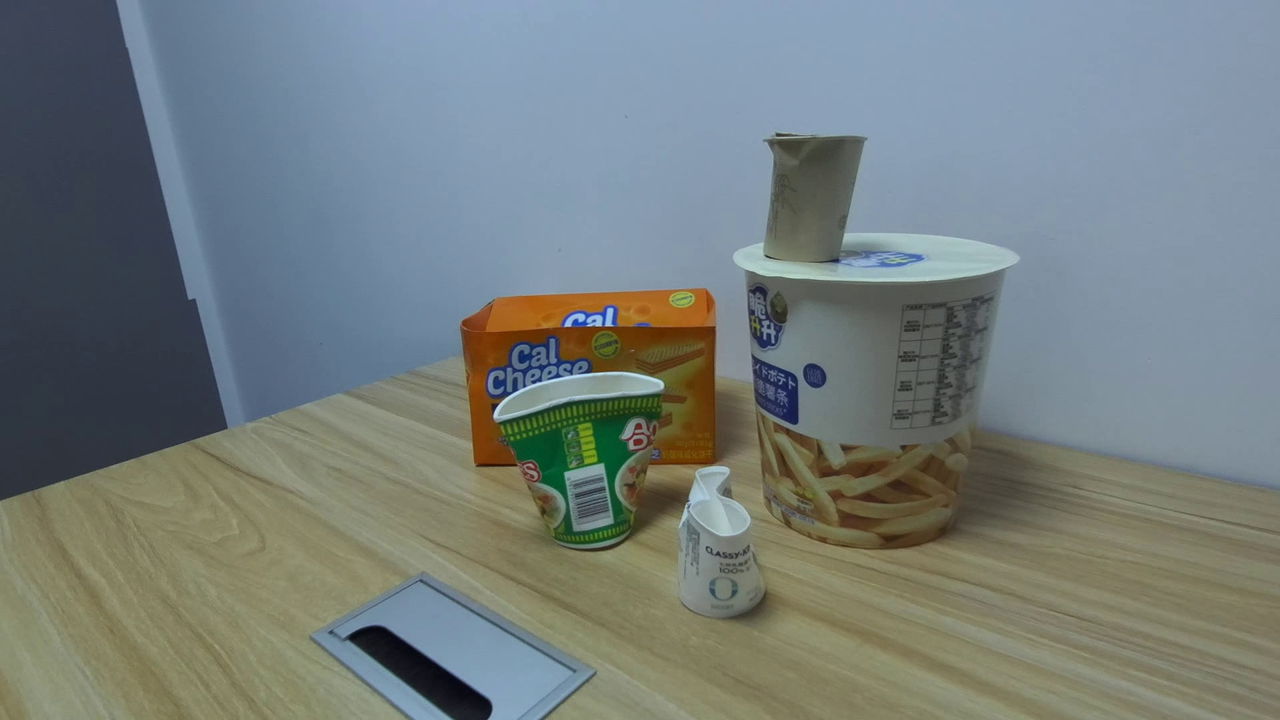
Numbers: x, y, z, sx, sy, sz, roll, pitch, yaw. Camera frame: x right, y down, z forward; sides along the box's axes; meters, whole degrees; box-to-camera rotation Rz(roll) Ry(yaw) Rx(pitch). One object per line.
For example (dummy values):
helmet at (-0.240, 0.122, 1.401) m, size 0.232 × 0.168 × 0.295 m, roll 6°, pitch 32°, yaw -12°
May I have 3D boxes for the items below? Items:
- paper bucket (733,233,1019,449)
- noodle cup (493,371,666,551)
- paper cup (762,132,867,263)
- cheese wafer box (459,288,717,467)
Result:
paper bucket at (0.164, 0.016, 0.525) m, size 0.198 × 0.194 × 0.198 m, roll -3°, pitch 19°, yaw 1°
noodle cup at (-0.037, 0.072, 0.512) m, size 0.115 × 0.111 × 0.070 m, roll -2°, pitch 19°, yaw 2°
paper cup at (0.118, -0.112, 0.489) m, size 0.071 × 0.084 × 0.066 m, roll 4°, pitch 17°, yaw 8°
cheese wafer box at (-0.042, 0.015, 0.674) m, size 0.230 × 0.132 × 0.152 m, roll -1°, pitch 19°, yaw 4°
